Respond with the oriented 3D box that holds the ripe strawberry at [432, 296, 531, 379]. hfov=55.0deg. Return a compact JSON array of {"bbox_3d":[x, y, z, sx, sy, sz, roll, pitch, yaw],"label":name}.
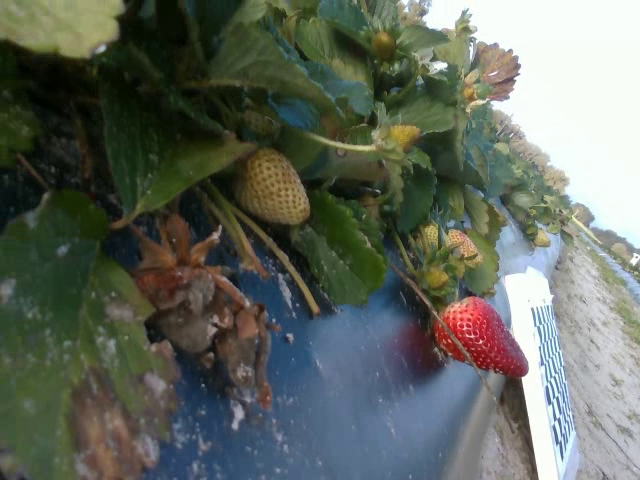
[{"bbox_3d":[0.112,0.065,0.412,0.067,0.045,0.052,40,15,20],"label":"ripe strawberry"}]
